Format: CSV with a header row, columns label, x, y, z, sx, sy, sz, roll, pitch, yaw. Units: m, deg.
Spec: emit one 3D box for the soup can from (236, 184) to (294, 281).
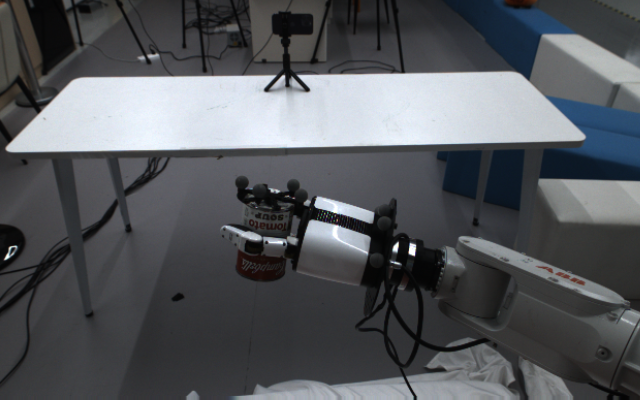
label,x,y,z,sx,sy,sz,roll,pitch,yaw
soup can,-0.071,0.048,0.637,0.067,0.101,0.067,9,19,-3
